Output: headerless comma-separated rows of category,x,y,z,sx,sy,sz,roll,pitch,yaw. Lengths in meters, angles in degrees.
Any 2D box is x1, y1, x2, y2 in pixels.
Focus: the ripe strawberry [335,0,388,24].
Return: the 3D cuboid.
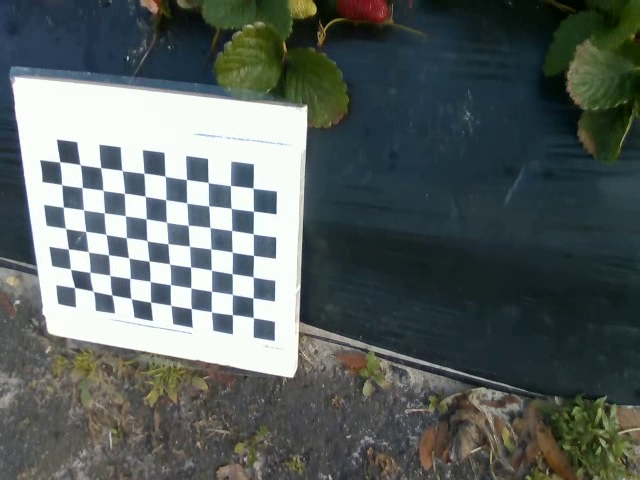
ripe strawberry,0.029,-0.197,0.706,0.064,0.051,0.043,38,27,2
